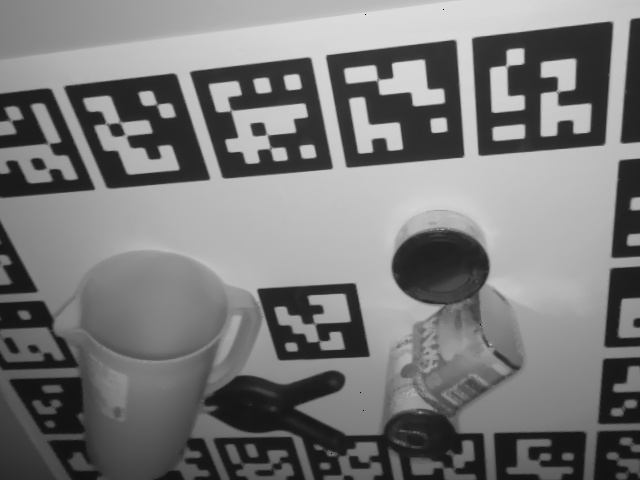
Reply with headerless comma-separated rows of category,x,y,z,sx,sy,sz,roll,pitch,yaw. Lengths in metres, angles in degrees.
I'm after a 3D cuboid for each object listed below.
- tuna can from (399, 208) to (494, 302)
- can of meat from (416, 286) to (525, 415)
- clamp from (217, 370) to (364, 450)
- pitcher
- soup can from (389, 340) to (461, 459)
tuna can,0.117,0.014,0.647,0.085,0.034,0.085,3,121,6
can of meat,0.141,0.101,0.654,0.083,0.103,0.058,-38,109,23
clamp,-0.036,0.191,0.790,0.164,0.037,0.121,1,126,11
pitcher,-0.170,0.134,0.700,0.191,0.134,0.239,3,133,-20
soup can,0.105,0.158,0.701,0.068,0.103,0.067,2,120,5
